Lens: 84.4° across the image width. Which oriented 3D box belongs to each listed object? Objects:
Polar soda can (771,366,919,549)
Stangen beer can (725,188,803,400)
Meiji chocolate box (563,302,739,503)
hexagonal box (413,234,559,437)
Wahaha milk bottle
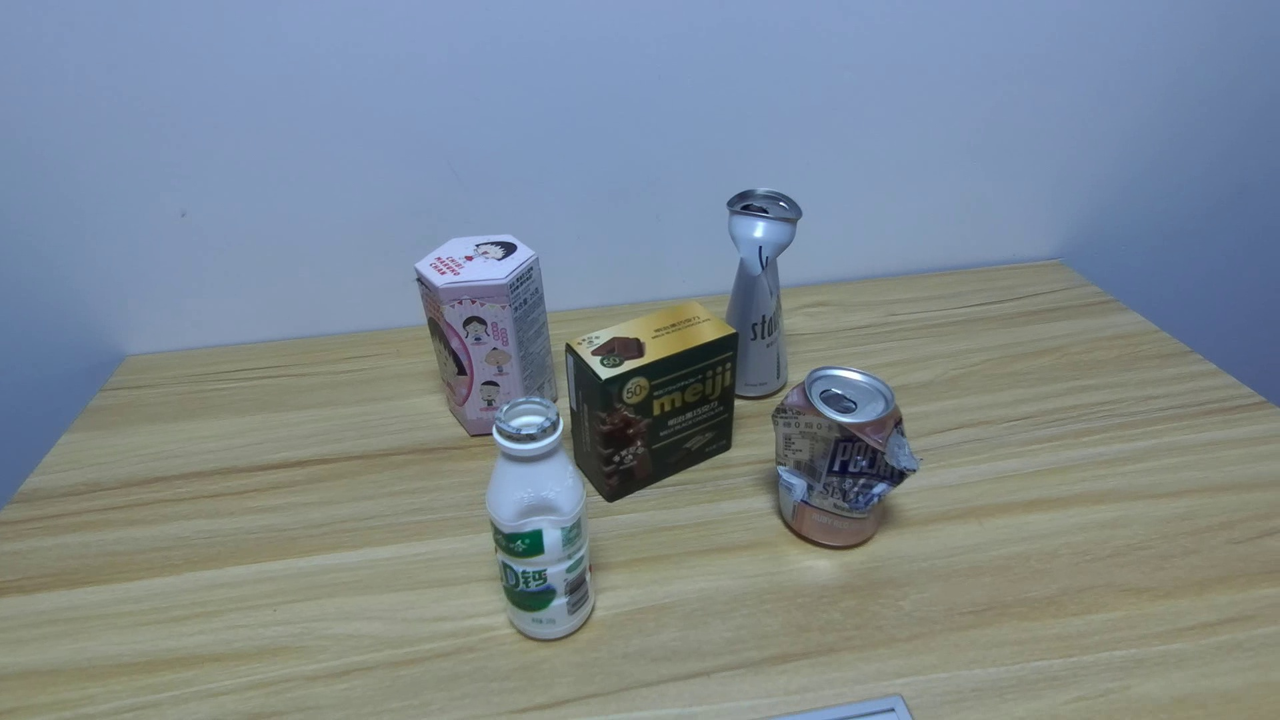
[{"bbox_3d":[0.126,0.061,0.444,0.074,0.114,0.070,-14,41,-12],"label":"Polar soda can"},{"bbox_3d":[0.092,-0.048,0.561,0.066,0.162,0.076,-15,36,-19],"label":"Stangen beer can"},{"bbox_3d":[0.010,0.029,0.501,0.110,0.109,0.056,-20,38,-24],"label":"Meiji chocolate box"},{"bbox_3d":[-0.118,-0.018,0.553,0.084,0.136,0.091,-23,39,-29],"label":"hexagonal box"},{"bbox_3d":[-0.054,0.093,0.385,0.053,0.137,0.053,0,34,1],"label":"Wahaha milk bottle"}]
